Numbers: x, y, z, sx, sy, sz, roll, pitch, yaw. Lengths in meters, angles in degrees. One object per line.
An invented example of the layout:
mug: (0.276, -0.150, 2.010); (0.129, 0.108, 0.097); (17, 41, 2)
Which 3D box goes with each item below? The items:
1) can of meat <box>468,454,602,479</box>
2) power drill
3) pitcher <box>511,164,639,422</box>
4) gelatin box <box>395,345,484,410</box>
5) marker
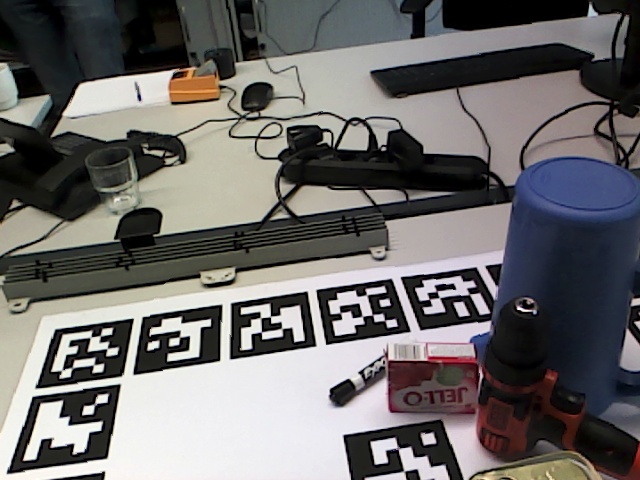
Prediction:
can of meat: (0.168, 0.224, 0.489); (0.102, 0.083, 0.058); (-8, 34, -4)
power drill: (0.223, 0.140, 0.517); (0.188, 0.184, 0.057); (19, 45, 21)
pitcher: (0.256, 0.055, 0.589); (0.190, 0.241, 0.133); (7, 41, 28)
gelatin box: (0.121, 0.140, 0.625); (0.089, 0.073, 0.030); (0, 40, 5)
marker: (0.063, 0.135, 0.681); (0.120, 0.019, 0.020); (-26, 41, -23)
